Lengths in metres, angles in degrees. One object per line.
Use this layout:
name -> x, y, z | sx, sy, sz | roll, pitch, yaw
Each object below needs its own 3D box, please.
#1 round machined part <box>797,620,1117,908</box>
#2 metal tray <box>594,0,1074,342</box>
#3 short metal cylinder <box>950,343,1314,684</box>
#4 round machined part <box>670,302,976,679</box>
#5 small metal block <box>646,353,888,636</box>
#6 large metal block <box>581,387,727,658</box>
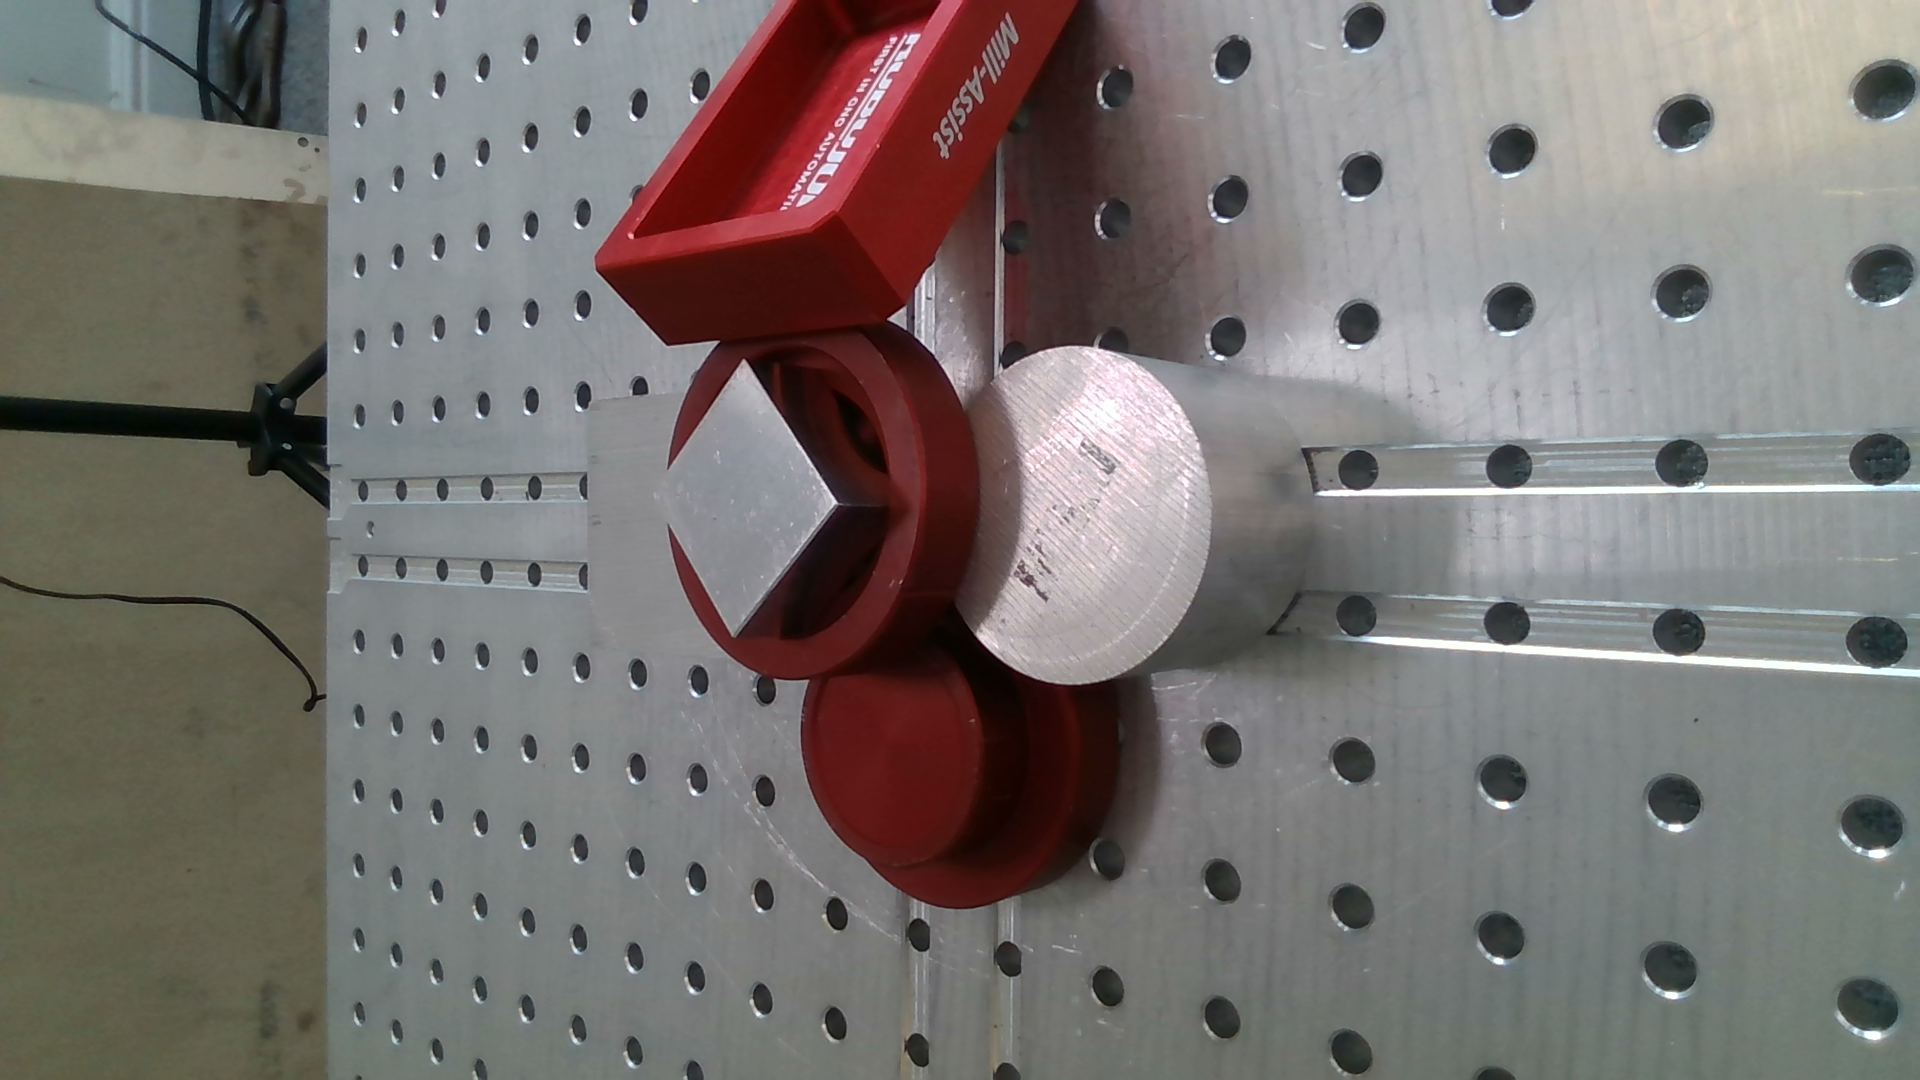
round machined part -> -0.008, 0.055, 0.388 | 0.098, 0.042, 0.098 | 0, 91, 40
metal tray -> -0.031, -0.114, 0.369 | 0.090, 0.030, 0.130 | 1, 54, 40
short metal cylinder -> 0.040, -0.006, 0.343 | 0.080, 0.050, 0.080 | 0, 91, 40
round machined part -> -0.033, -0.013, 0.372 | 0.098, 0.042, 0.098 | 0, 91, 40
small metal block -> -0.049, -0.011, 0.354 | 0.050, 0.025, 0.050 | -49, 61, 29
large metal block -> -0.075, -0.006, 0.437 | 0.080, 0.050, 0.080 | 1, 91, 40
